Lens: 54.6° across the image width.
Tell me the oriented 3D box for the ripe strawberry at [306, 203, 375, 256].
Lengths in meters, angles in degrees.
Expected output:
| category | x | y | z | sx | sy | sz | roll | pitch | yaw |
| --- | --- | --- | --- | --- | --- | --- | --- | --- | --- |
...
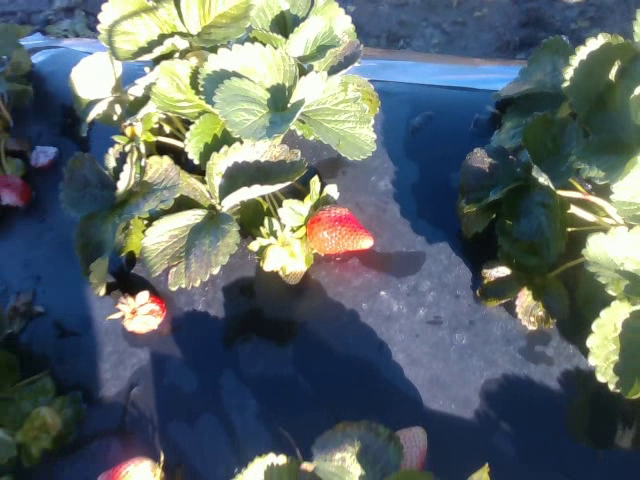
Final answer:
| category | x | y | z | sx | sy | sz | roll | pitch | yaw |
| --- | --- | --- | --- | --- | --- | --- | --- | --- | --- |
| ripe strawberry | 0.019 | -0.005 | 0.480 | 0.064 | 0.049 | 0.052 | 18 | 12 | 32 |
